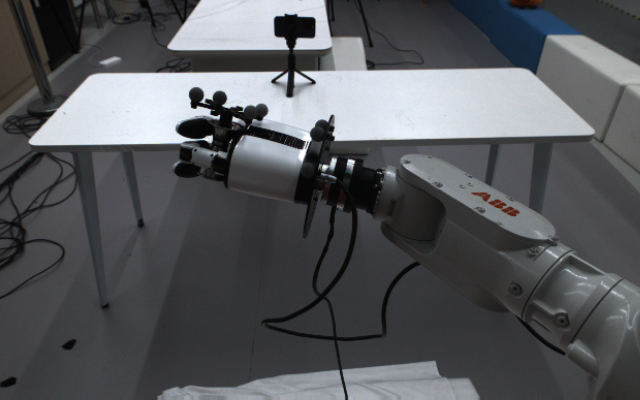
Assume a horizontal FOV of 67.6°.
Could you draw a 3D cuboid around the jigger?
[{"bbox_3d":[-0.124,-0.063,0.614,0.043,0.071,0.043,15,17,-5],"label":"jigger"}]
